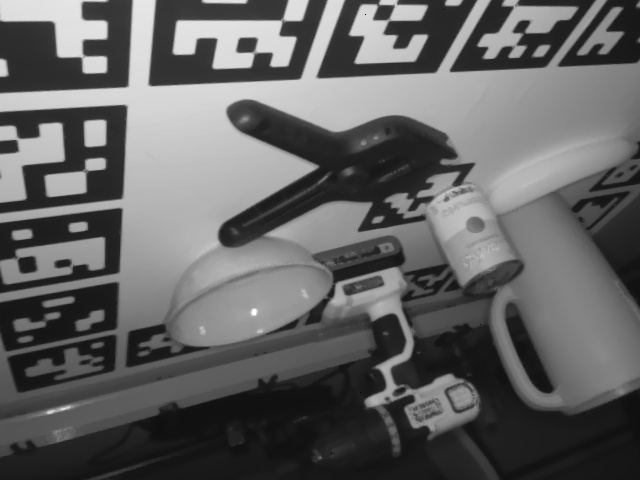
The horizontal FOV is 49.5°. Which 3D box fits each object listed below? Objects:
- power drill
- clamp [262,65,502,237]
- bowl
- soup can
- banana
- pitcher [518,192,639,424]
[{"bbox_3d":[0.075,0.118,0.694,0.187,0.187,0.056,-10,147,-22],"label":"power drill"},{"bbox_3d":[0.061,-0.073,0.555,0.205,0.036,0.163,-9,143,-24],"label":"clamp"},{"bbox_3d":[-0.036,0.030,0.643,0.163,0.055,0.160,-19,149,-11],"label":"bowl"},{"bbox_3d":[0.187,-0.004,0.706,0.068,0.102,0.067,-17,158,-6],"label":"soup can"},{"bbox_3d":[0.301,-0.075,0.742,0.198,0.039,0.074,-20,158,-4],"label":"banana"},{"bbox_3d":[0.303,0.074,0.771,0.190,0.243,0.132,-21,153,-6],"label":"pitcher"}]
